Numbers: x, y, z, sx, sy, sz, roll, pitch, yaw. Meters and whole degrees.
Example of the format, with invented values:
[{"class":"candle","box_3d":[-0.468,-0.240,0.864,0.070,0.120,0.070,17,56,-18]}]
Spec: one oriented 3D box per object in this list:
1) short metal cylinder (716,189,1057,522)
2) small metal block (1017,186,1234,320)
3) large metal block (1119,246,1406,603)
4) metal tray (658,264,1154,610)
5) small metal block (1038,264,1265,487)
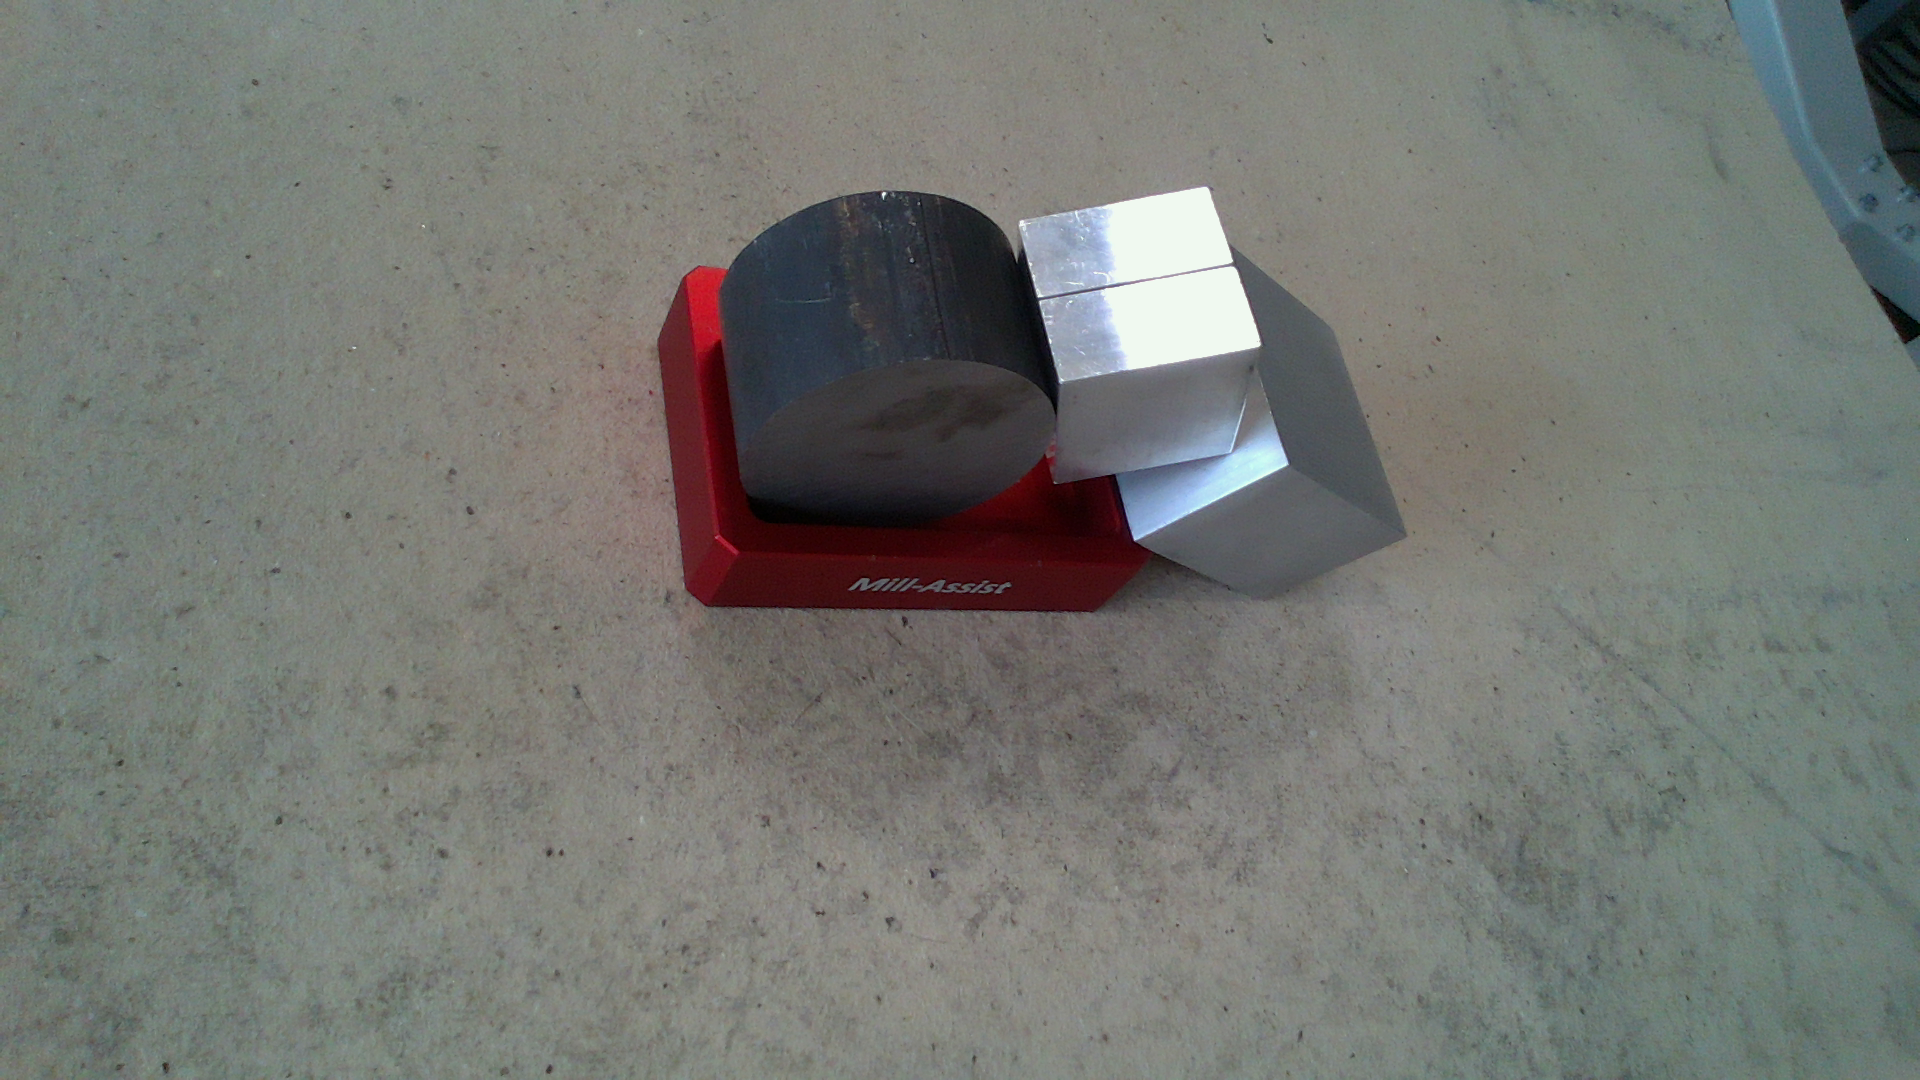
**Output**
[{"class":"short metal cylinder","box_3d":[-0.020,-0.044,0.354,0.080,0.080,0.050,1,61,-28]},{"class":"small metal block","box_3d":[0.042,-0.064,0.368,0.050,0.050,0.025,-11,63,-4]},{"class":"large metal block","box_3d":[0.086,-0.035,0.423,0.080,0.050,0.080,22,48,-48]},{"class":"metal tray","box_3d":[-0.015,-0.027,0.395,0.130,0.030,0.090,2,61,-27]},{"class":"small metal block","box_3d":[0.047,-0.041,0.356,0.050,0.050,0.025,-11,63,-4]}]
